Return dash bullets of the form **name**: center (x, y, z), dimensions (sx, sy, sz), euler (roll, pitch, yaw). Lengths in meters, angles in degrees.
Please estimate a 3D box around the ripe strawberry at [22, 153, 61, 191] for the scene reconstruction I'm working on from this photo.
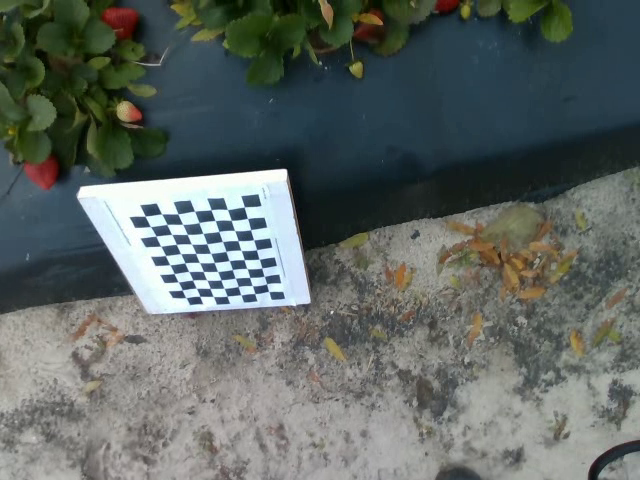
- **ripe strawberry**: center (-0.304, -0.080, 0.678), dimensions (0.036, 0.046, 0.037), euler (-15, -16, -48)
